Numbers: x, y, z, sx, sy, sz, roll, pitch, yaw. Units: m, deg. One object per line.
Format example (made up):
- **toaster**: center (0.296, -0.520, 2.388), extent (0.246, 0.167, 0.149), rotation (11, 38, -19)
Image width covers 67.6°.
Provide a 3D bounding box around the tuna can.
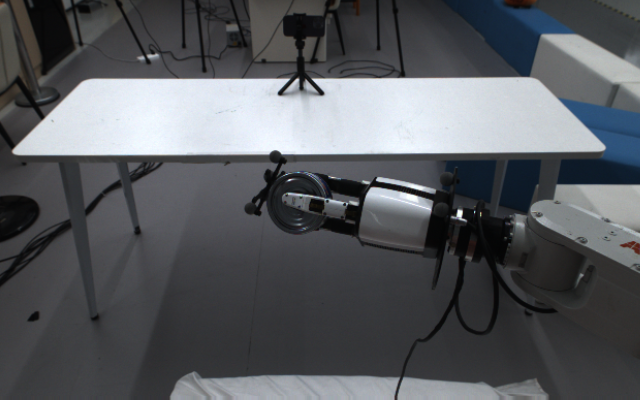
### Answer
- **tuna can**: center (-0.024, 0.006, 0.654), extent (0.085, 0.085, 0.034), rotation (8, 5, 9)
